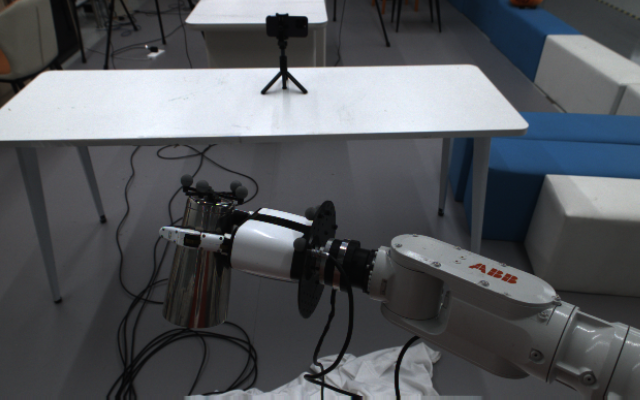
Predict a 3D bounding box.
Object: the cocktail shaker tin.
[{"bbox_3d":[-0.162,0.080,0.684,0.093,0.170,0.093,10,10,-2],"label":"cocktail shaker tin"}]
